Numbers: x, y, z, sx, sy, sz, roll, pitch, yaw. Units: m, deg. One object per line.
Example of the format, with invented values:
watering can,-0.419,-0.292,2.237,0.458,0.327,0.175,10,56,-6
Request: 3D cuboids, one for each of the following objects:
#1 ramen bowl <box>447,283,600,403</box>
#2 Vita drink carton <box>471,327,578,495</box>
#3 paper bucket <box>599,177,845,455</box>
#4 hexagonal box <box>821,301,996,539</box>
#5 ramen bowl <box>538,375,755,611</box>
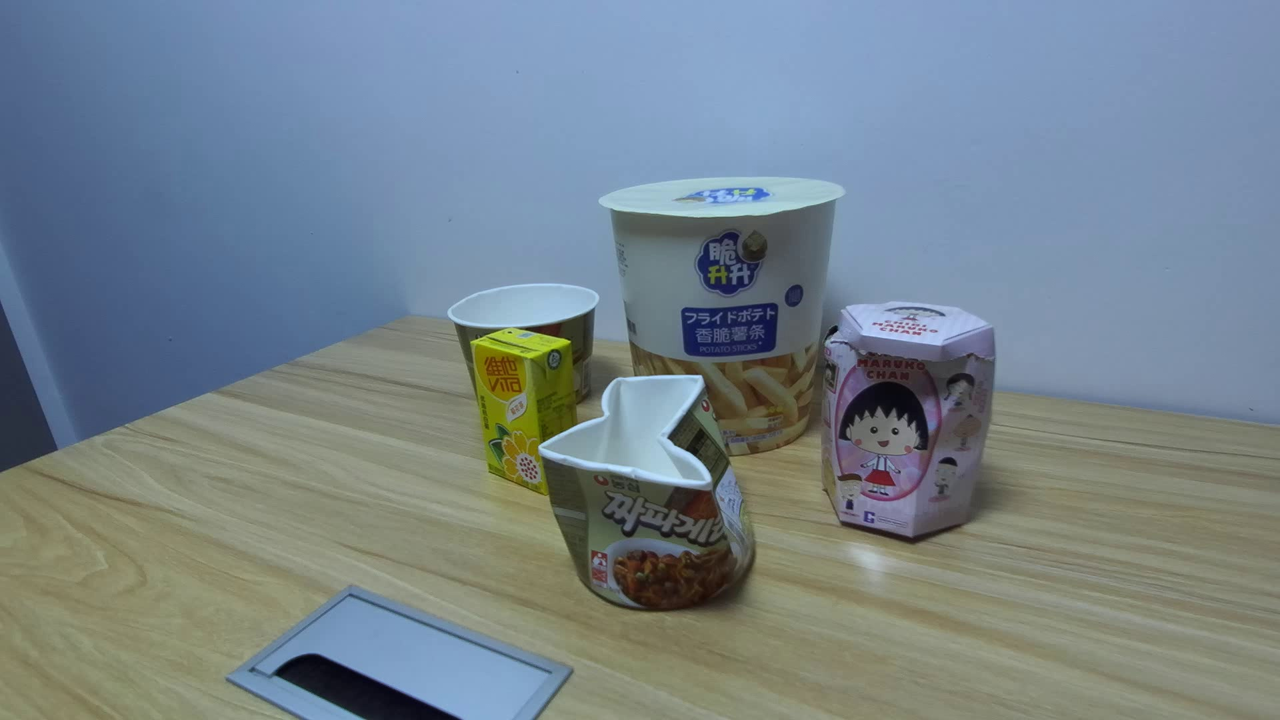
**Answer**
ramen bowl,-0.105,-0.011,0.678,0.140,0.095,0.140,-3,22,2
Vita drink carton,-0.083,0.036,0.526,0.066,0.109,0.044,14,27,35
paper bucket,0.067,-0.040,0.582,0.198,0.194,0.198,-3,21,1
hexagonal box,0.168,0.036,0.456,0.090,0.134,0.091,-7,20,-17
ramen bowl,0.013,0.074,0.428,0.111,0.093,0.128,5,24,23
